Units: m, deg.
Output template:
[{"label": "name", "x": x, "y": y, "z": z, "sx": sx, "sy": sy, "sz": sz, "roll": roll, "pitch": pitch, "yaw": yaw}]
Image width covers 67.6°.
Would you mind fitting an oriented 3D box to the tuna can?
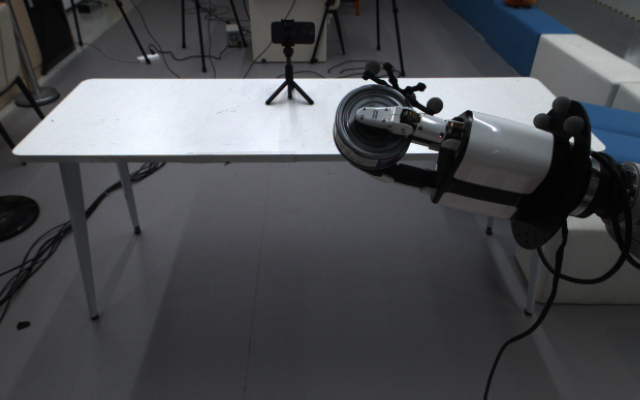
[{"label": "tuna can", "x": 0.062, "y": -0.072, "z": 0.510, "sx": 0.085, "sy": 0.034, "sz": 0.085, "roll": 0, "pitch": 74, "yaw": -1}]
